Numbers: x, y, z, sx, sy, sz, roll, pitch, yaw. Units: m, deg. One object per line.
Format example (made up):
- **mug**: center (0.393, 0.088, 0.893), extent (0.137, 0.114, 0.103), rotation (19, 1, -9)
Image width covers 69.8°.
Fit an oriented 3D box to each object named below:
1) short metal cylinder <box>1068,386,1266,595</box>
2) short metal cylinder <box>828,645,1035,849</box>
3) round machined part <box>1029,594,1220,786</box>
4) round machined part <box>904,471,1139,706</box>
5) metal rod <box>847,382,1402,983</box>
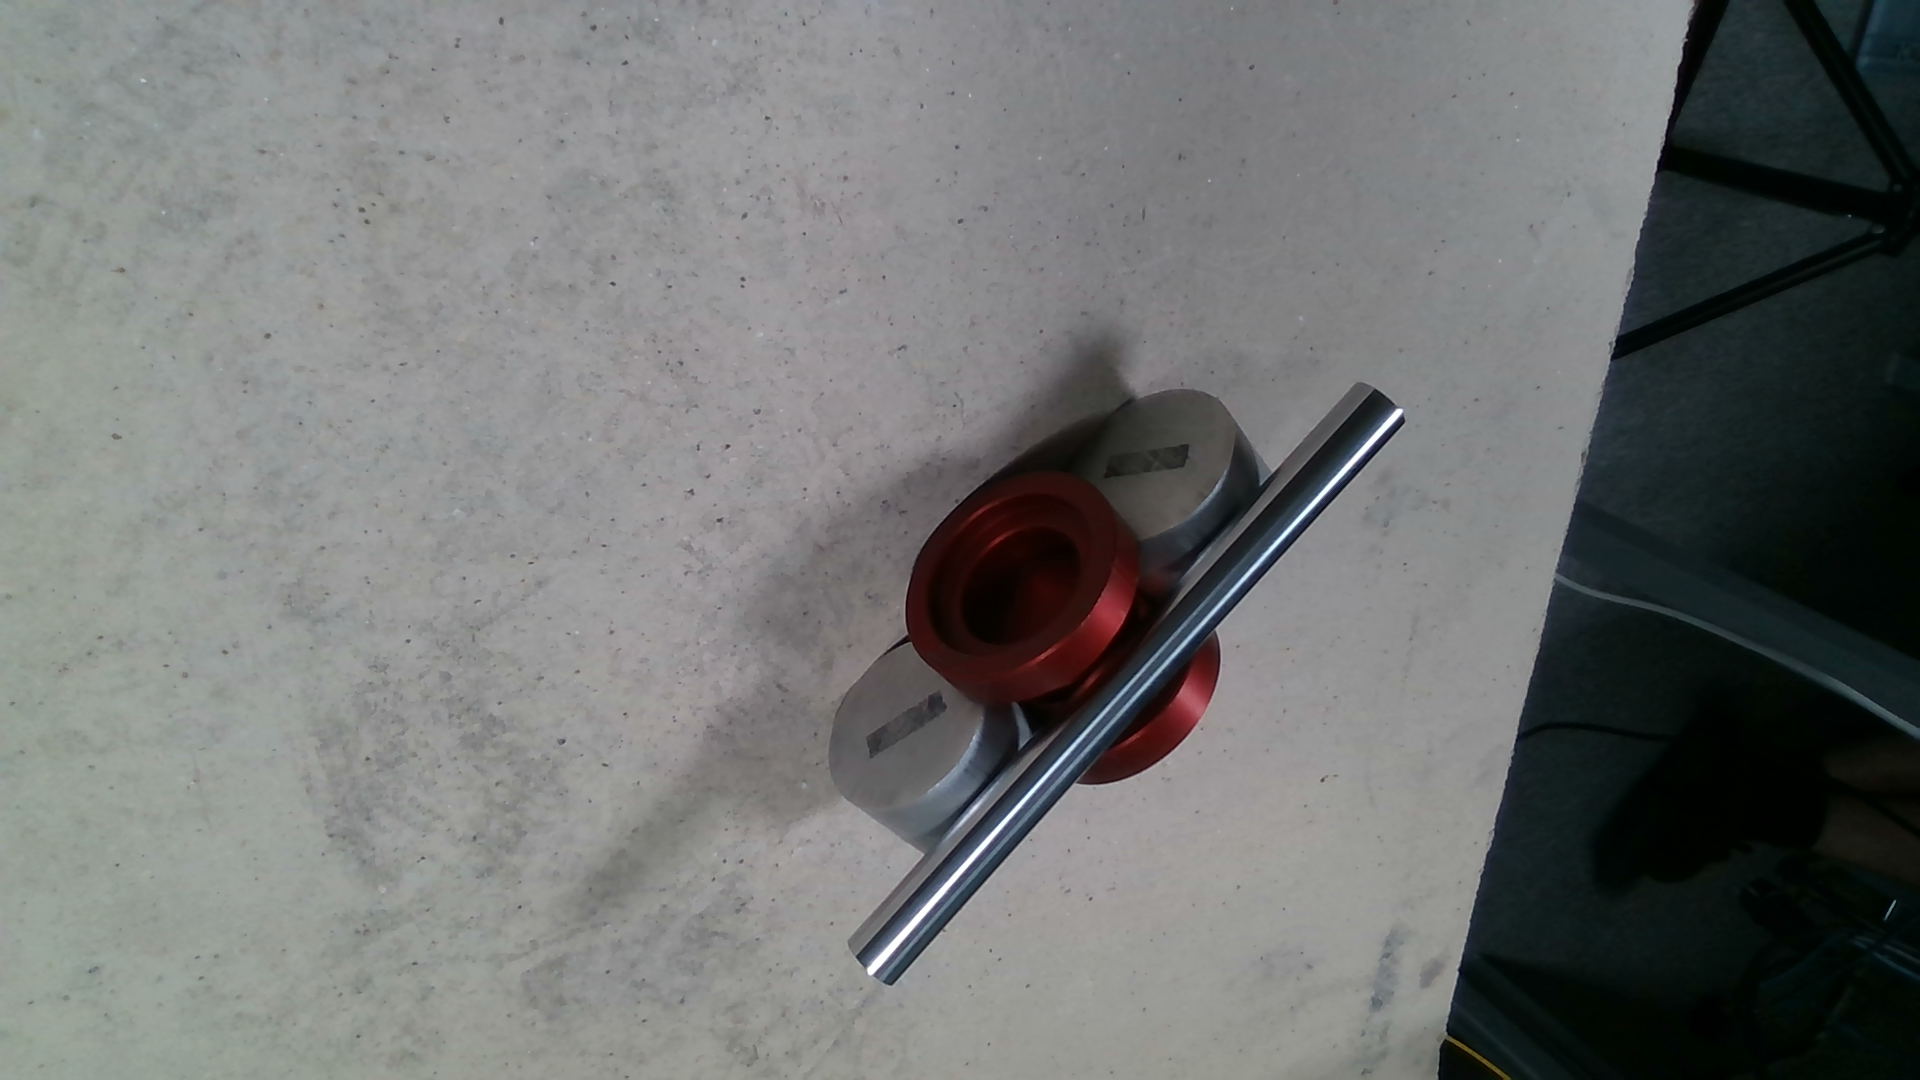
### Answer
- **short metal cylinder**: center (0.092, -0.019, 0.591), extent (0.080, 0.080, 0.050), rotation (-47, 129, -2)
- **short metal cylinder**: center (-0.009, 0.088, 0.587), extent (0.080, 0.080, 0.050), rotation (-47, 129, -2)
- **round machined part**: center (0.060, 0.054, 0.600), extent (0.098, 0.098, 0.042), rotation (-47, 125, -1)
- **round machined part**: center (0.029, 0.024, 0.563), extent (0.098, 0.098, 0.042), rotation (-47, 133, -1)
- **metal rod**: center (0.066, 0.056, 0.549), extent (0.300, 0.025, 0.025), rotation (-48, 129, -1)
